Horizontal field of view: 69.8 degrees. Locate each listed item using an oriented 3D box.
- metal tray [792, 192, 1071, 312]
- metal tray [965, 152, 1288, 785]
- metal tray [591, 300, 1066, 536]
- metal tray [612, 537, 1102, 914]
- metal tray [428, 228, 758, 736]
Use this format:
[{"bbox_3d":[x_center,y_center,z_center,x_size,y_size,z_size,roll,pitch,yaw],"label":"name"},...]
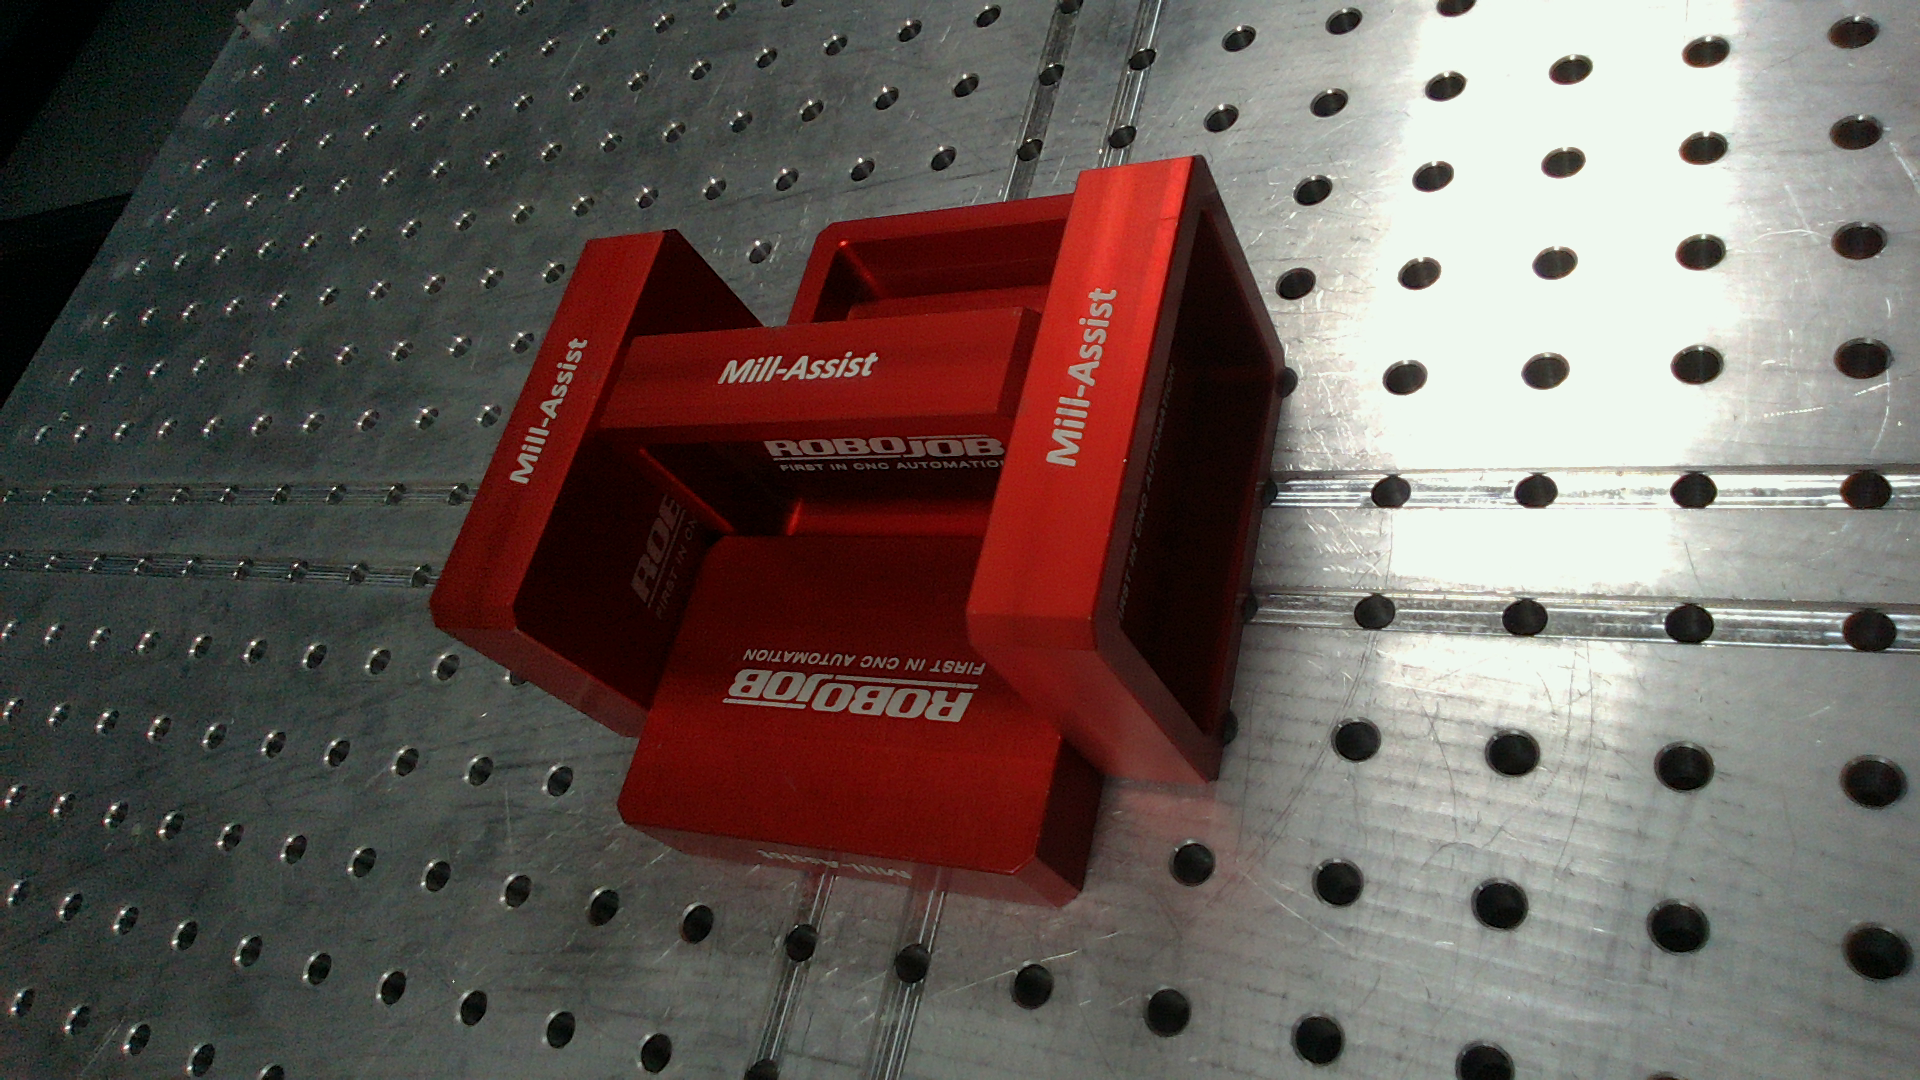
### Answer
[{"bbox_3d":[0.005,-0.061,0.428,0.130,0.030,0.090,0,62,29],"label":"metal tray"},{"bbox_3d":[0.047,-0.017,0.339,0.030,0.090,0.130,1,62,29],"label":"metal tray"},{"bbox_3d":[-0.023,-0.023,0.379,0.130,0.090,0.030,1,62,29],"label":"metal tray"},{"bbox_3d":[-0.024,0.046,0.377,0.130,0.030,0.090,0,62,29],"label":"metal tray"},{"bbox_3d":[-0.094,-0.016,0.415,0.030,0.090,0.130,1,62,29],"label":"metal tray"}]
